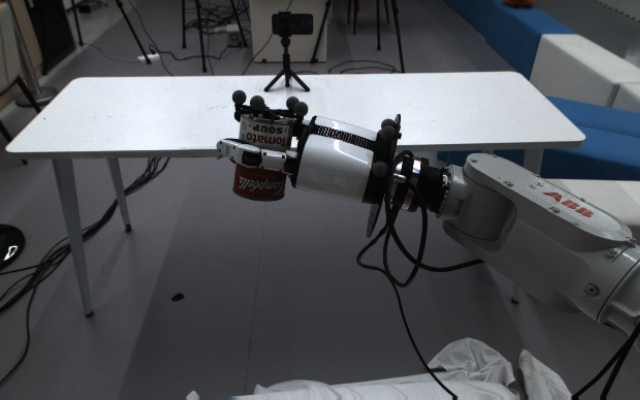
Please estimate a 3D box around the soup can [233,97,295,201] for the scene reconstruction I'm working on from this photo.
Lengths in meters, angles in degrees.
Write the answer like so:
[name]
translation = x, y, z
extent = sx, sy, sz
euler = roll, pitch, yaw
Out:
[soup can]
translation = -0.071, -0.057, 0.612
extent = 0.067, 0.101, 0.067
euler = 8, 19, -3
